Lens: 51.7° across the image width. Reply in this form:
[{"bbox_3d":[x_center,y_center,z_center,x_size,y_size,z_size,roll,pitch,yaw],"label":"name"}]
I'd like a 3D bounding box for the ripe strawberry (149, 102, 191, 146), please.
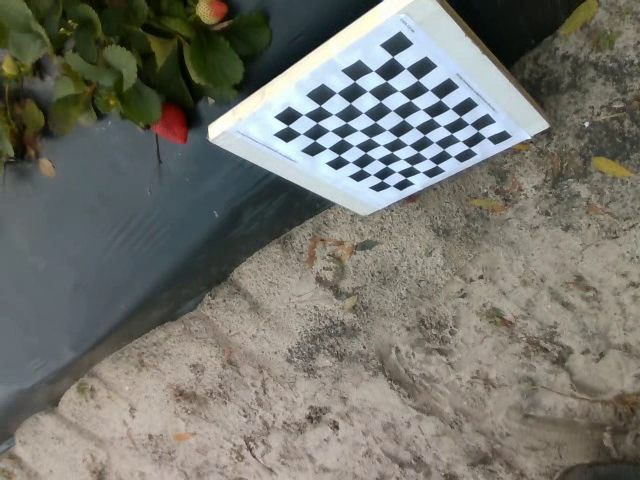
[{"bbox_3d":[-0.141,-0.099,0.600,0.036,0.046,0.037,-43,-10,-17],"label":"ripe strawberry"}]
